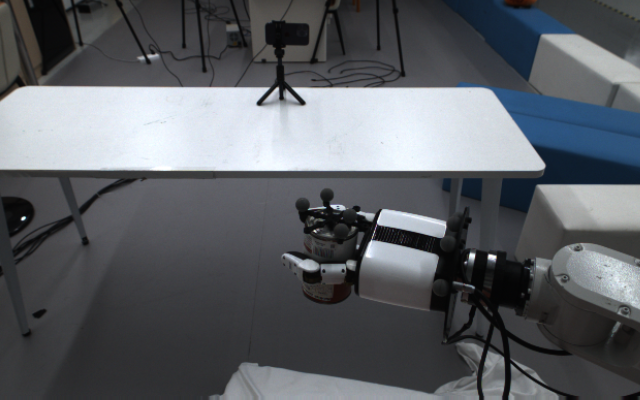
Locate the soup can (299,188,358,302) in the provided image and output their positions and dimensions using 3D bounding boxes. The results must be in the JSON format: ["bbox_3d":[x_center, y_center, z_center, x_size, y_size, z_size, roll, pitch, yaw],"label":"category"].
[{"bbox_3d":[0.013,0.071,0.610,0.067,0.101,0.067,4,30,-2],"label":"soup can"}]
